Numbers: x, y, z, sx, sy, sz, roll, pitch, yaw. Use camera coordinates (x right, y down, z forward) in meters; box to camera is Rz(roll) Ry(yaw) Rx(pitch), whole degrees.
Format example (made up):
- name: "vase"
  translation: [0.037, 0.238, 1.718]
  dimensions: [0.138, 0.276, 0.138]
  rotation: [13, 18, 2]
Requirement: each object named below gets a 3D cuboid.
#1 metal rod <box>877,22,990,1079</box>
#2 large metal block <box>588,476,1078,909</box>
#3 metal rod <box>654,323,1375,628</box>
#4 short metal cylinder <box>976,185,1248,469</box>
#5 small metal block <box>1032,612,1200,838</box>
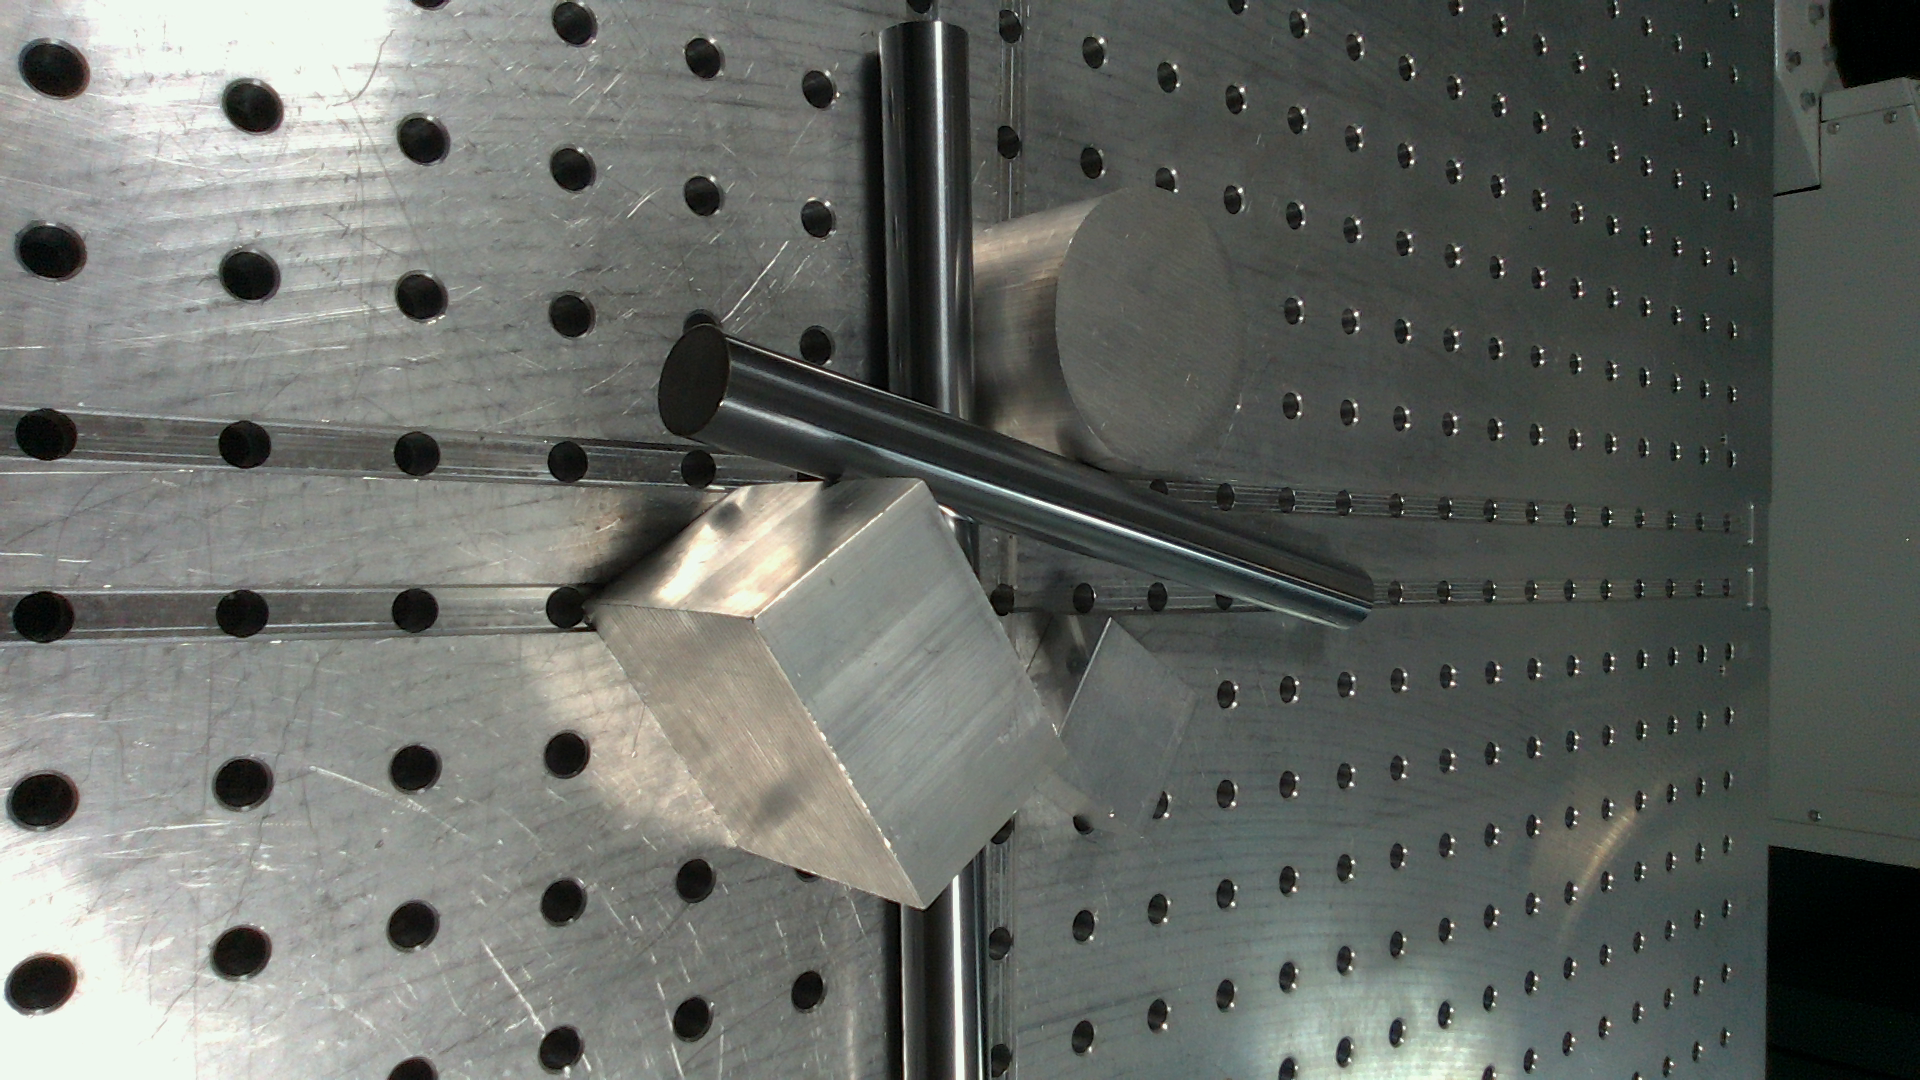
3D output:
- name: "metal rod"
  translation: [-0.007, 0.010, 0.386]
  dimensions: [0.025, 0.025, 0.300]
  rotation: [-2, 91, -40]
- name: "large metal block"
  translation: [-0.031, 0.033, 0.329]
  dimensions: [0.050, 0.080, 0.080]
  rotation: [-42, 115, -32]
- name: "metal rod"
  translation: [0.042, -0.007, 0.403]
  dimensions: [0.301, 0.025, 0.025]
  rotation: [15, 80, -46]
- name: "short metal cylinder"
  translation: [0.040, -0.060, 0.409]
  dimensions: [0.080, 0.050, 0.080]
  rotation: [0, 90, -40]
- name: "small metal block"
  translation: [0.042, 0.057, 0.428]
  dimensions: [0.050, 0.025, 0.050]
  rotation: [40, 66, -32]
